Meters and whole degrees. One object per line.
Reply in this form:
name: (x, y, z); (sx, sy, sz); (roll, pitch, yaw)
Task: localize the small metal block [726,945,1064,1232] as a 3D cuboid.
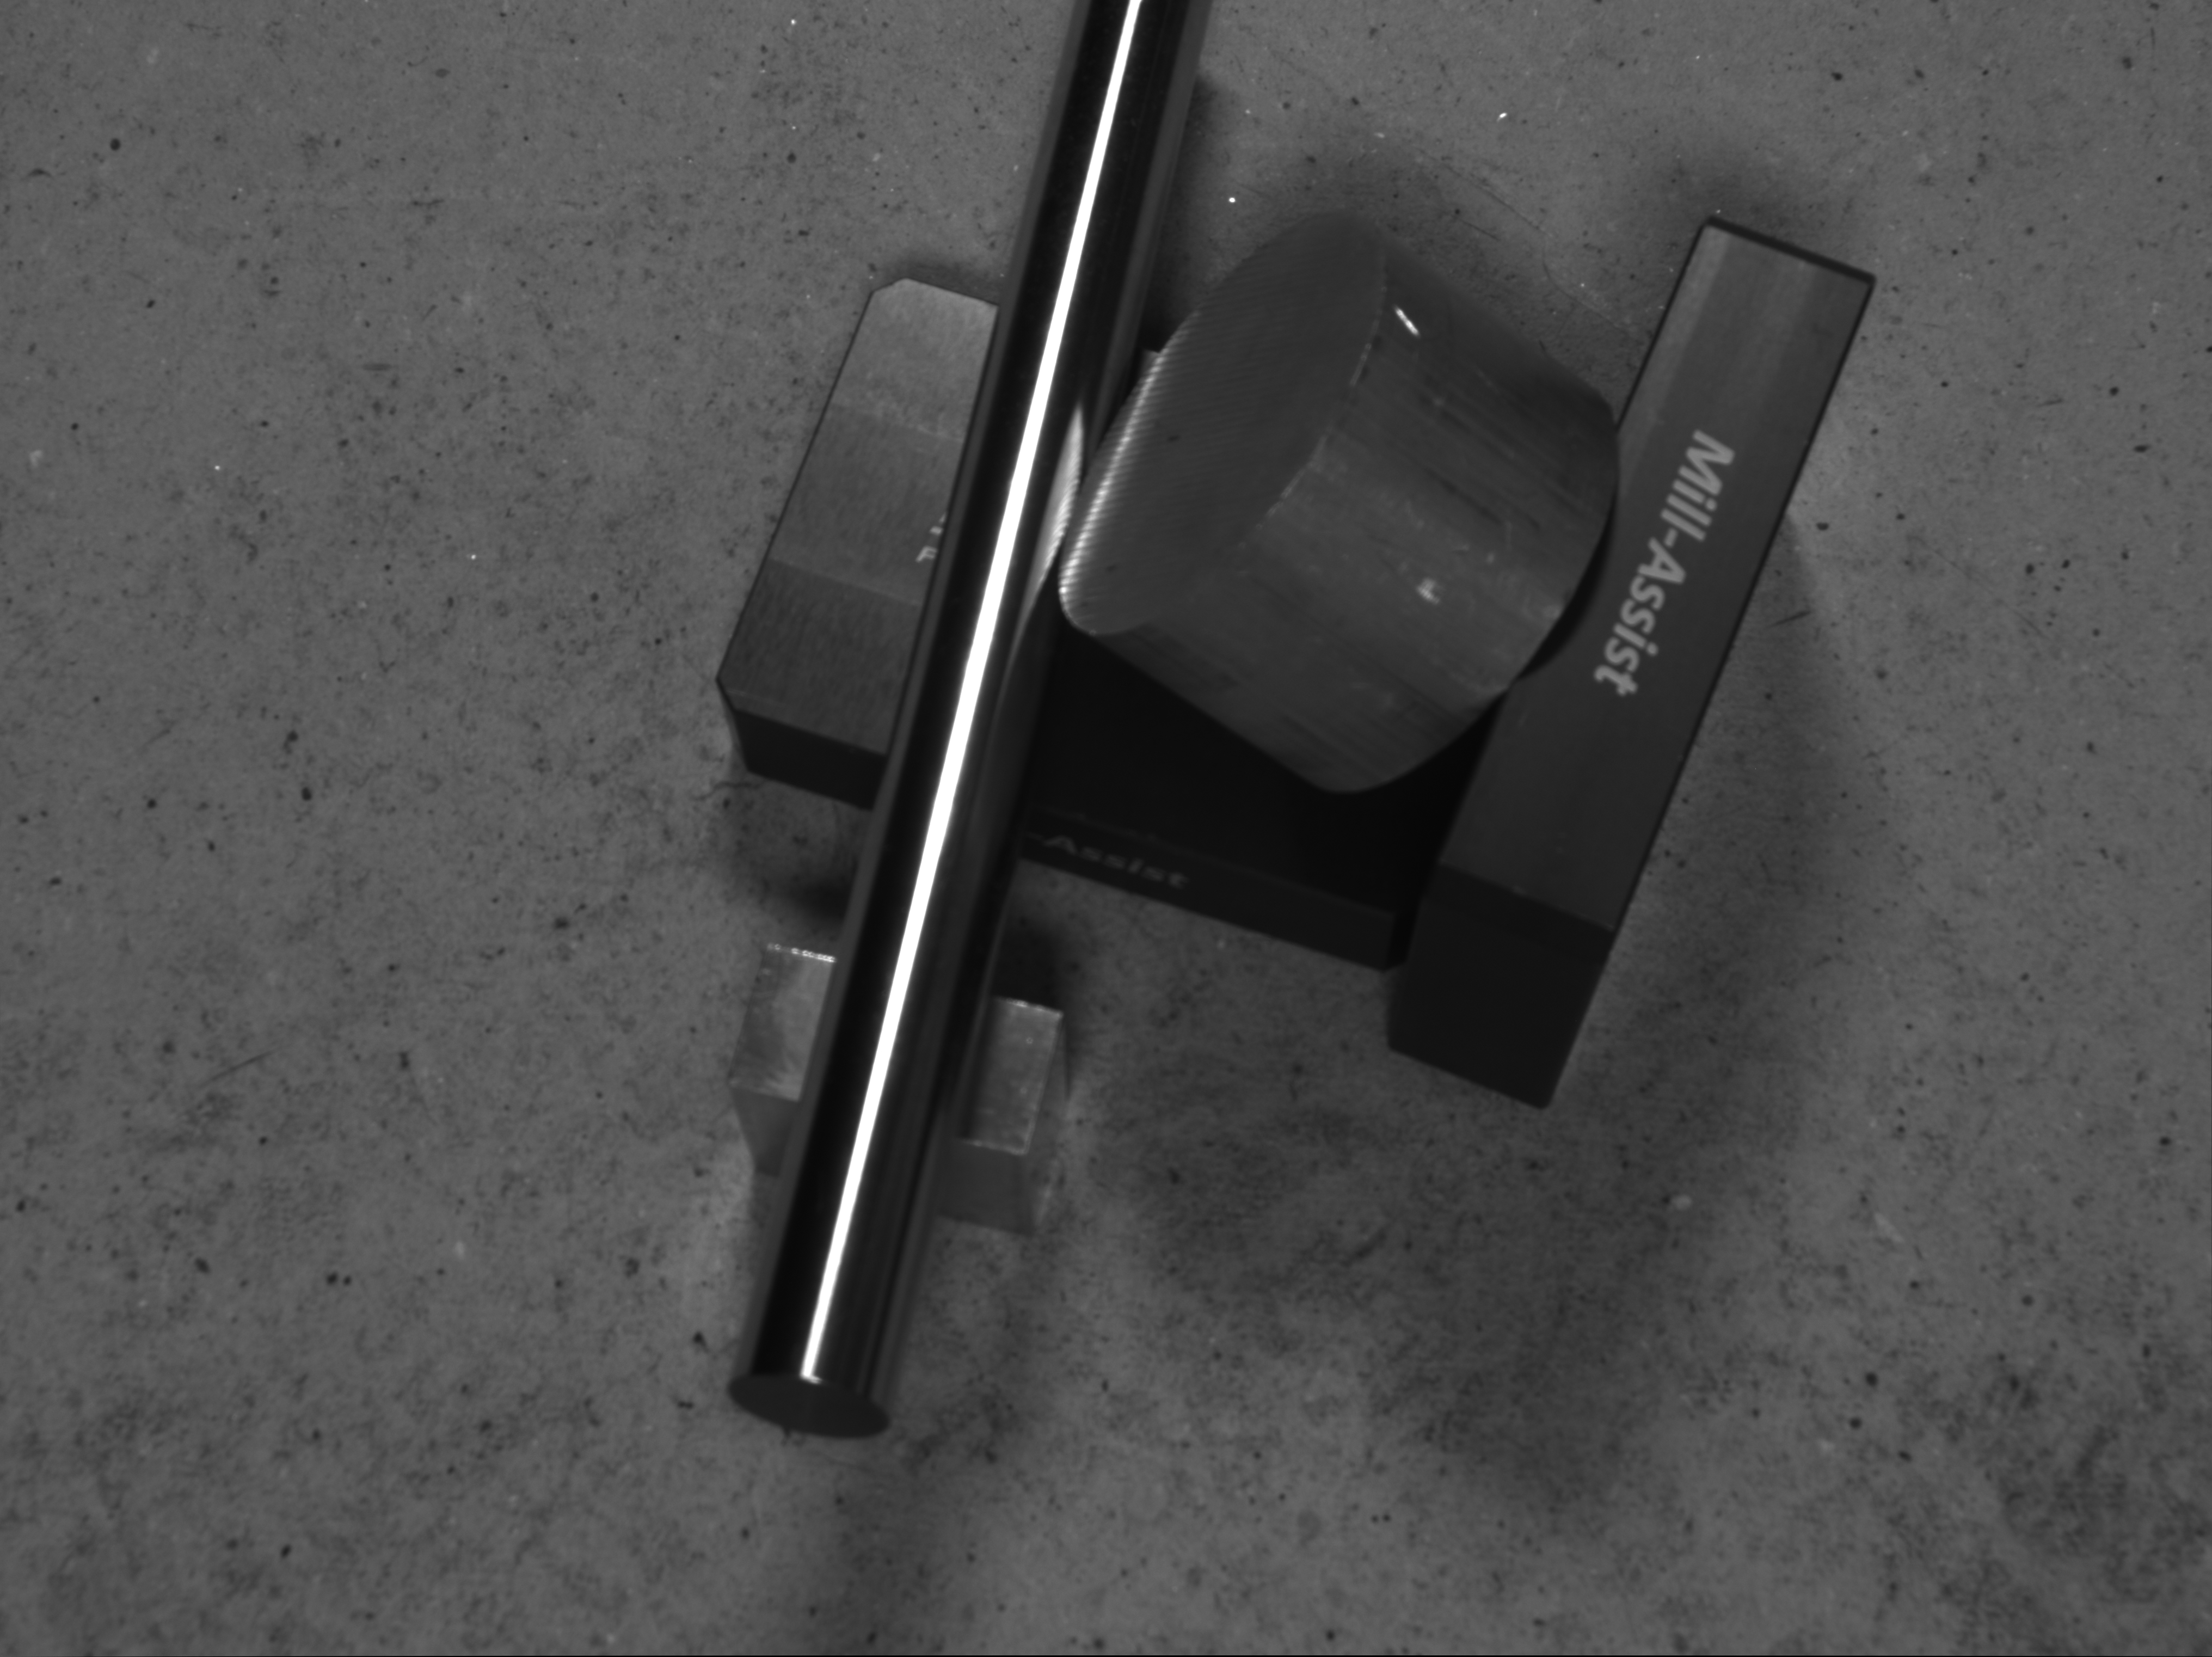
small metal block: (-0.034, 0.044, 0.615); (0.050, 0.050, 0.025); (12, 70, 4)

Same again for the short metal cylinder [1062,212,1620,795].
short metal cylinder: (0.037, -0.053, 0.596); (0.050, 0.080, 0.080); (33, 70, -23)

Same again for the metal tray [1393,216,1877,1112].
metal tray: (0.089, -0.026, 0.620); (0.030, 0.090, 0.130); (22, 71, 8)

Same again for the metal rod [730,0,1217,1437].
metal rod: (-0.016, -0.042, 0.619); (0.025, 0.025, 0.300); (10, 61, 4)

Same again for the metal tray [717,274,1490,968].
metal tray: (0.007, -0.038, 0.656); (0.130, 0.030, 0.090); (17, 71, 6)
